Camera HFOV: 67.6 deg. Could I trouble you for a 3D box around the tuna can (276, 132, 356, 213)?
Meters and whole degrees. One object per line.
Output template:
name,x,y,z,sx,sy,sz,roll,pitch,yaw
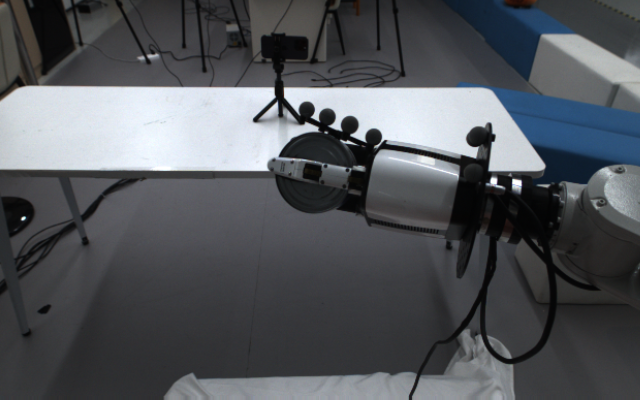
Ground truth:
tuna can,0.000,-0.030,0.521,0.085,0.085,0.034,13,3,16
